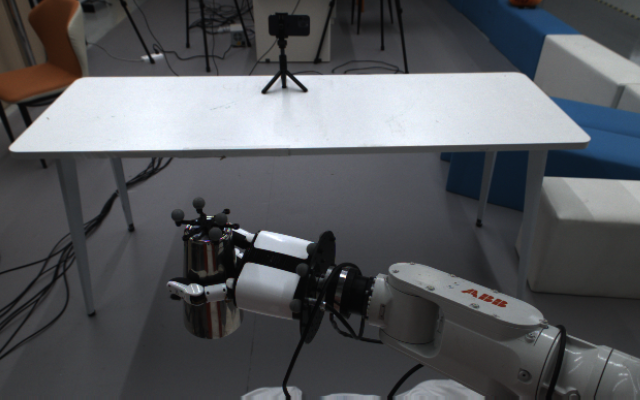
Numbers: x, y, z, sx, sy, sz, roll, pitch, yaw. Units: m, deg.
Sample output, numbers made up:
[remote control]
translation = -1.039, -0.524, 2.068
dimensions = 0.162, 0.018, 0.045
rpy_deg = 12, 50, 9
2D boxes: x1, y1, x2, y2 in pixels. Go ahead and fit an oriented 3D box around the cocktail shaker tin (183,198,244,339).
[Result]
[cocktail shaker tin]
translation = -0.161, 0.112, 0.714
dimensions = 0.093, 0.170, 0.093
rpy_deg = 3, 32, -2
